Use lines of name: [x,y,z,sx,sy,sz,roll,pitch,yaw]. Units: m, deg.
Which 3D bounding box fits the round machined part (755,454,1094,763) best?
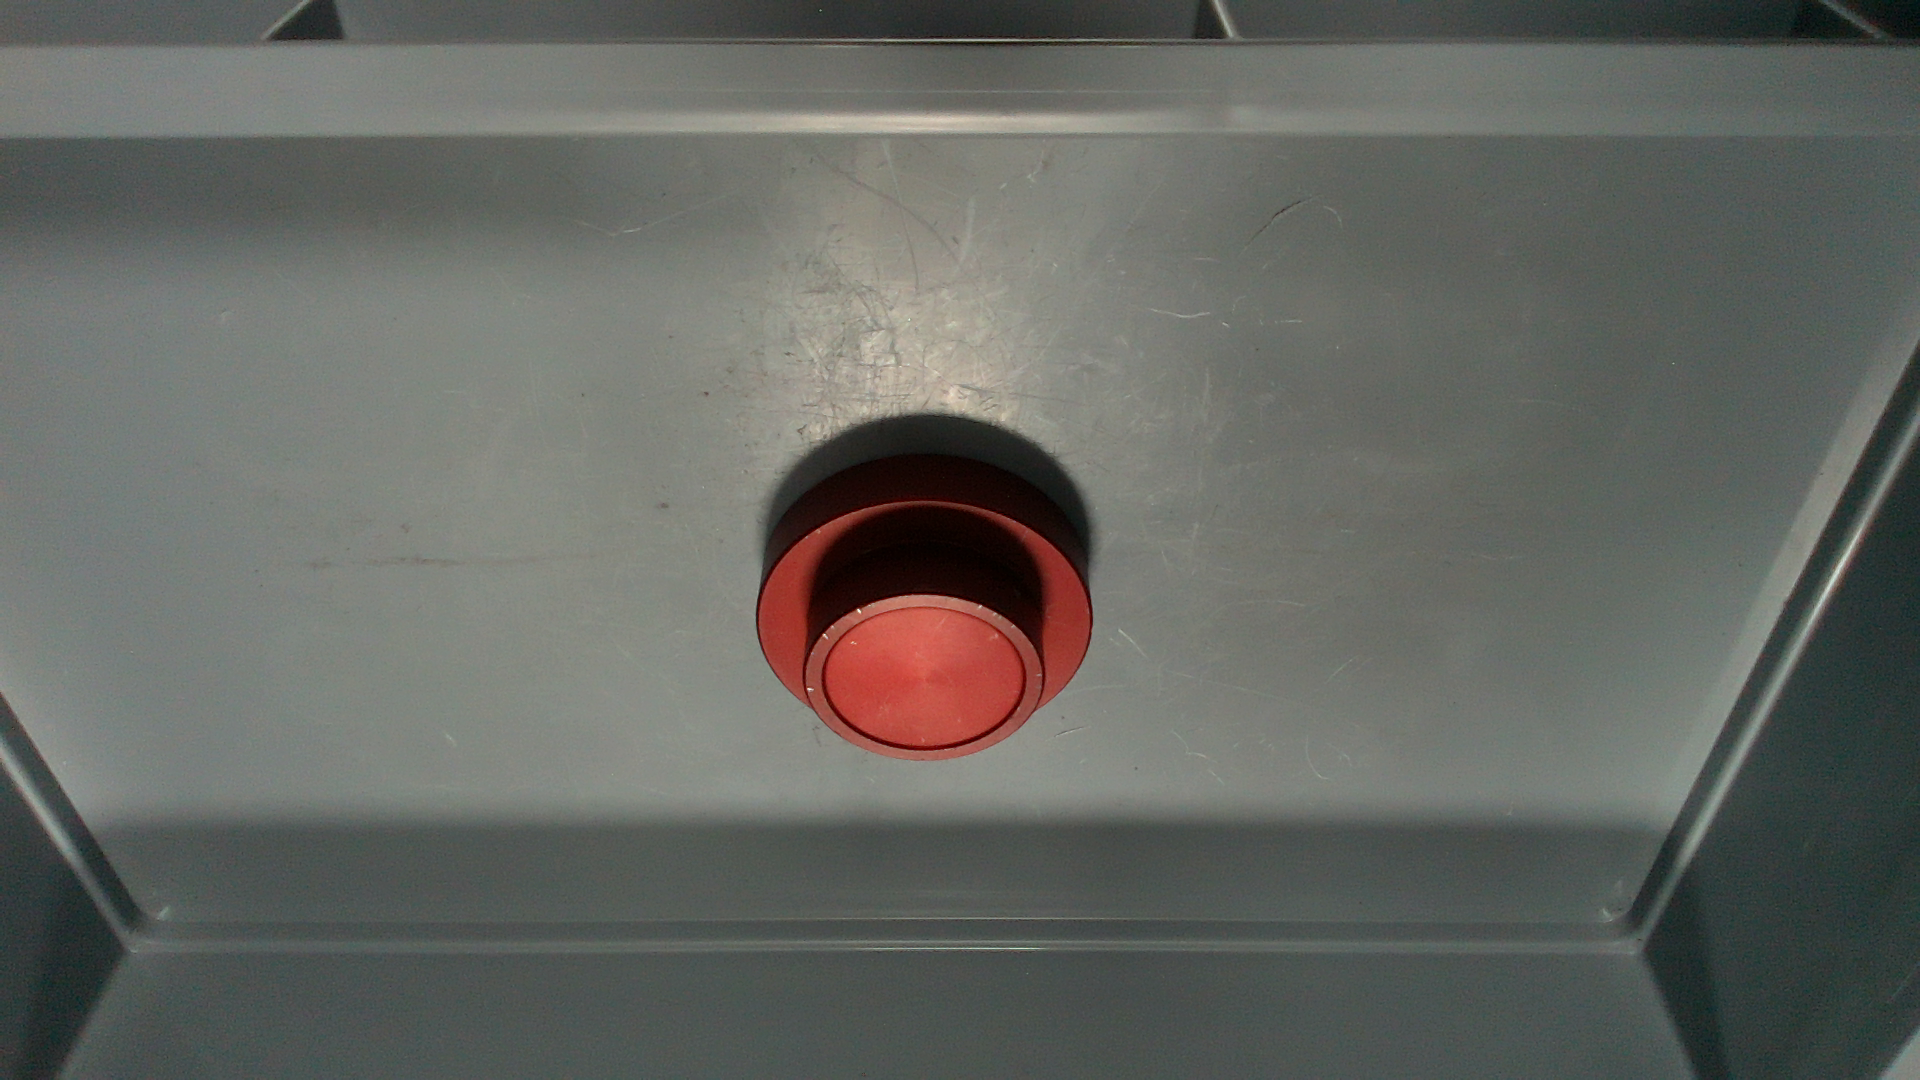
round machined part: [-0.010,0.027,0.398,0.098,0.042,0.098,0,130,0]
